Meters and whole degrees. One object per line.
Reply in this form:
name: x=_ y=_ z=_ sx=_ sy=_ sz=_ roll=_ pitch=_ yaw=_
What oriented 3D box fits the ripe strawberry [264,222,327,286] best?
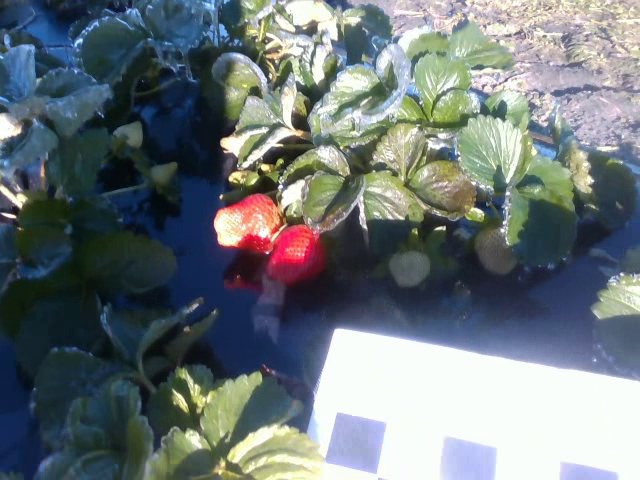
ripe strawberry: x=-0.023 y=0.008 z=0.480 sx=0.043 sy=0.059 sz=0.040 roll=7 pitch=-37 yaw=16

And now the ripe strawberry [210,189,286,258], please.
ripe strawberry: x=-0.061 y=-0.012 z=0.512 sx=0.069 sy=0.053 sz=0.040 roll=-26 pitch=-28 yaw=-15
